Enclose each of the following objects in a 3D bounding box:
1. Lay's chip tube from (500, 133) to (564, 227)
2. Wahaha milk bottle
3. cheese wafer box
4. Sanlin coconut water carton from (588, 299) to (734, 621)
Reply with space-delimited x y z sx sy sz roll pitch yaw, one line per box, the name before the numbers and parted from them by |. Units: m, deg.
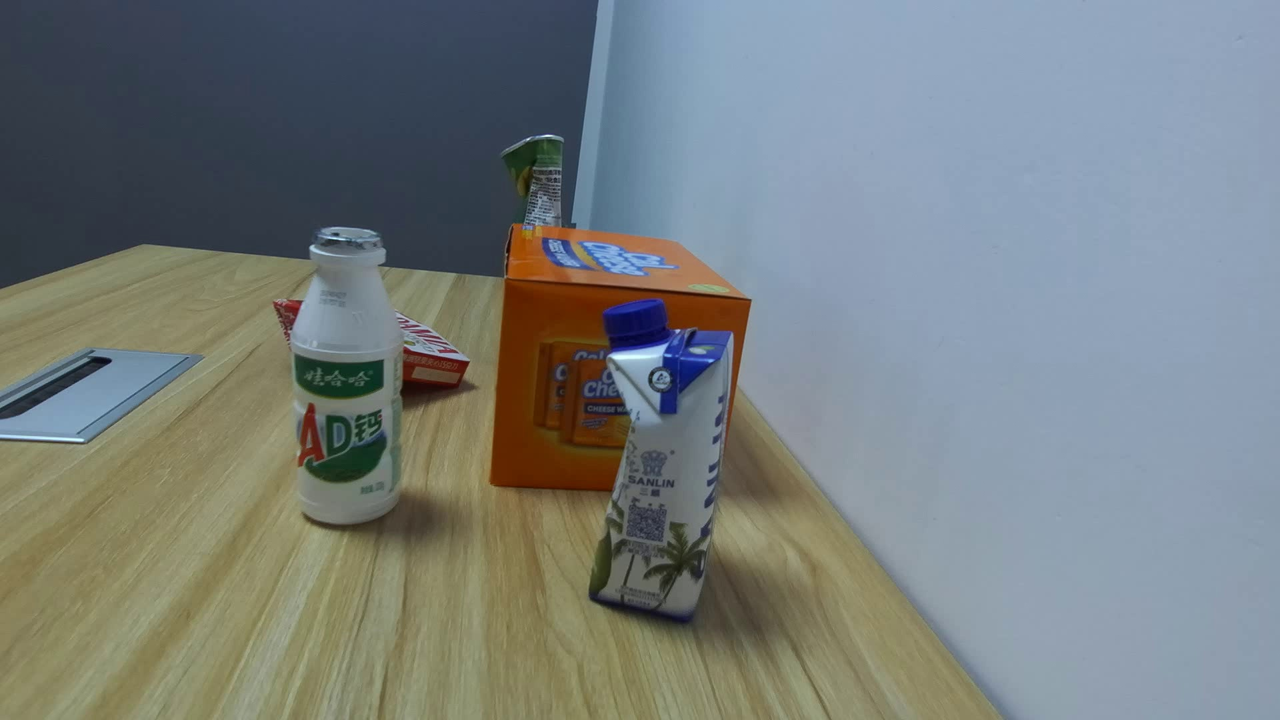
Lay's chip tube | -0.096 -0.106 0.668 0.071 0.199 0.079 2 14 9
Wahaha milk bottle | -0.148 0.014 0.358 0.053 0.136 0.053 7 19 -2
cheese wafer box | -0.025 -0.012 0.513 0.148 0.129 0.221 4 17 -9
Sanlin coconut water carton | 0.010 0.047 0.336 0.057 0.142 0.078 4 13 12
